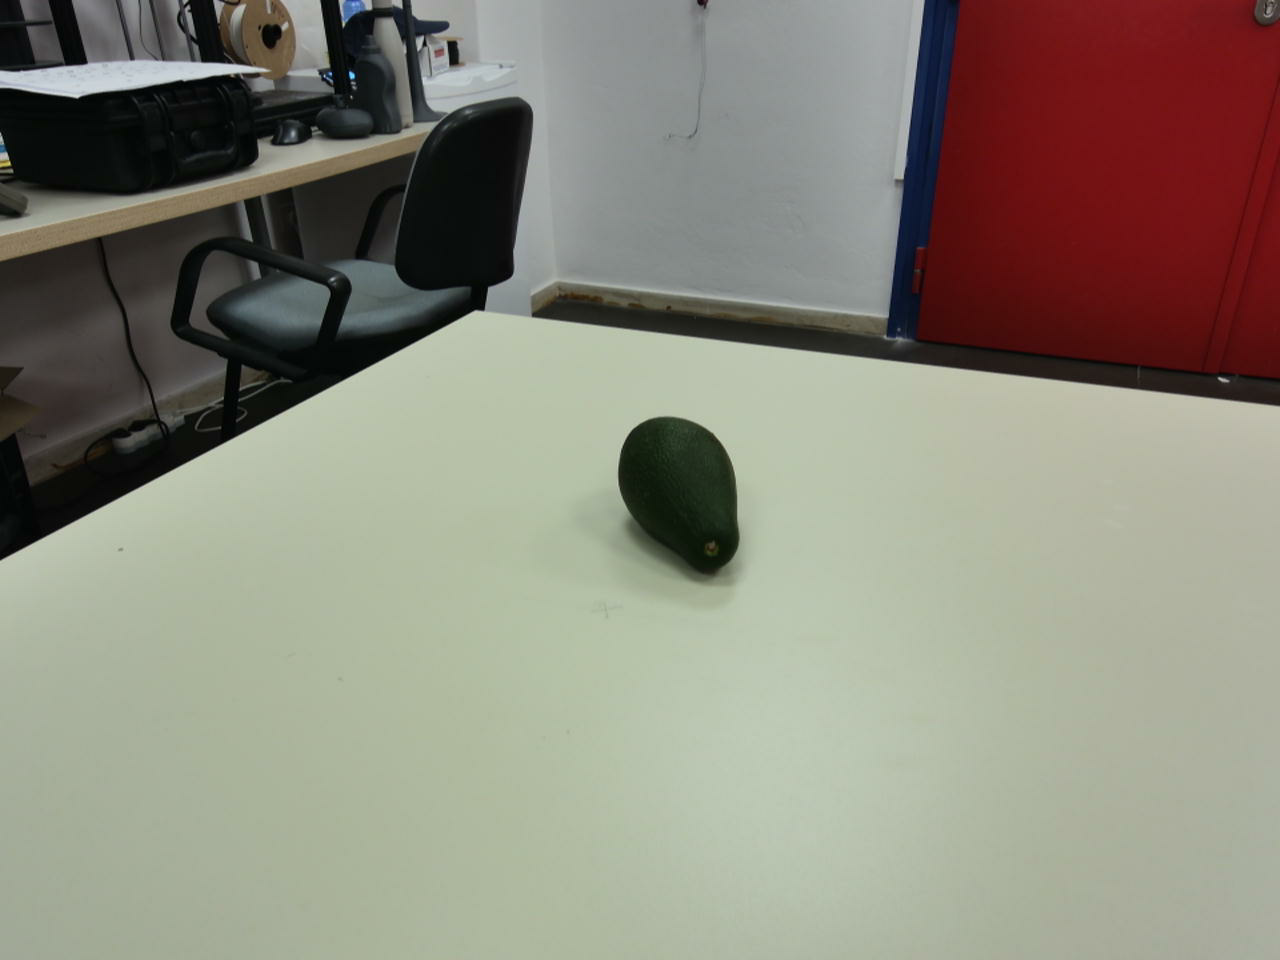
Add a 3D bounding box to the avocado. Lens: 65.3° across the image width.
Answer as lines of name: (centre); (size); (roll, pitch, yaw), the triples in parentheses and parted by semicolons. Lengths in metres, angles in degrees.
avocado: (0.022, 0.005, 0.596); (0.072, 0.071, 0.109); (1, 26, 1)
